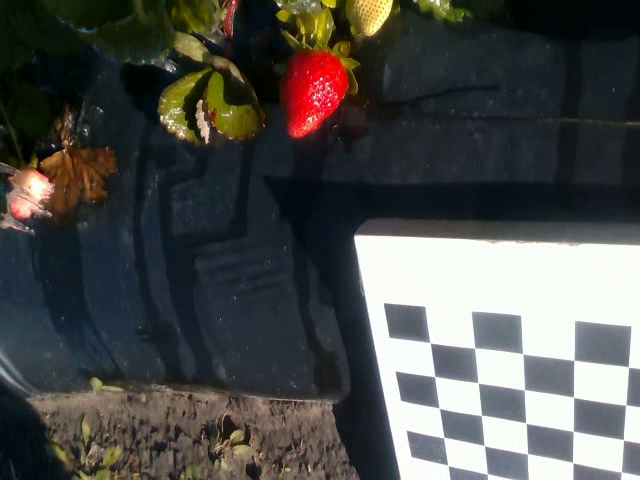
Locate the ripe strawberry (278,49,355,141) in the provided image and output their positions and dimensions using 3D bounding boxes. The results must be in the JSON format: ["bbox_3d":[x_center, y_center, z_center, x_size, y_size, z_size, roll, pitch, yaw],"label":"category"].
[{"bbox_3d":[-0.004,-0.056,0.244,0.039,0.039,0.040,-1,-35,42],"label":"ripe strawberry"}]
